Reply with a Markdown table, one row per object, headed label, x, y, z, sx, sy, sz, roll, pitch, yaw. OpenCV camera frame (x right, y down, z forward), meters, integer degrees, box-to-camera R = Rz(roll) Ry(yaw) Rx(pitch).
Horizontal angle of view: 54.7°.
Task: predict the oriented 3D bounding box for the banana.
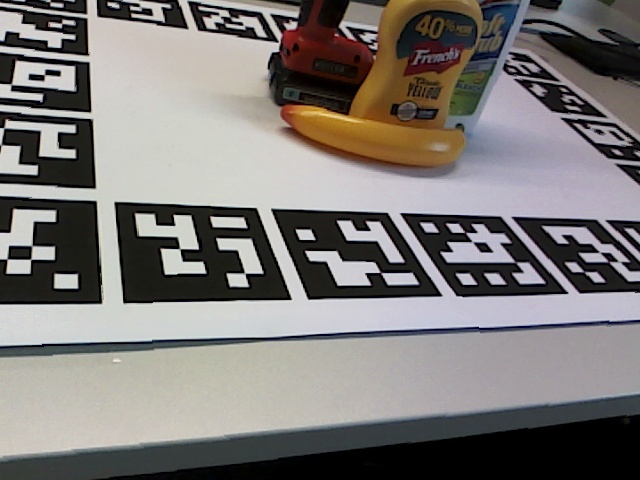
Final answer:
| label | x | y | z | sx | sy | sz | roll | pitch | yaw |
| --- | --- | --- | --- | --- | --- | --- | --- | --- | --- |
| banana | 0.068 | -0.095 | 0.596 | 0.196 | 0.039 | 0.074 | 2 | 41 | -16 |

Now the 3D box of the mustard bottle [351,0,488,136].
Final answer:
| label | x | y | z | sx | sy | sz | roll | pitch | yaw |
| --- | --- | --- | --- | --- | --- | --- | --- | --- | --- |
| mustard bottle | 0.101 | -0.179 | 0.574 | 0.096 | 0.191 | 0.059 | 2 | 40 | -22 |

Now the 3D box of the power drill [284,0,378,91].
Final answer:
| label | x | y | z | sx | sy | sz | roll | pitch | yaw |
| --- | --- | --- | --- | --- | --- | --- | --- | --- | --- |
| power drill | 0.049 | -0.242 | 0.598 | 0.184 | 0.187 | 0.057 | 10 | 36 | -13 |

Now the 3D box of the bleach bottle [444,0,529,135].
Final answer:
| label | x | y | z | sx | sy | sz | roll | pitch | yaw |
| --- | --- | --- | --- | --- | --- | --- | --- | --- | --- |
| bleach bottle | 0.156 | -0.234 | 0.627 | 0.102 | 0.250 | 0.068 | 3 | 34 | -19 |
